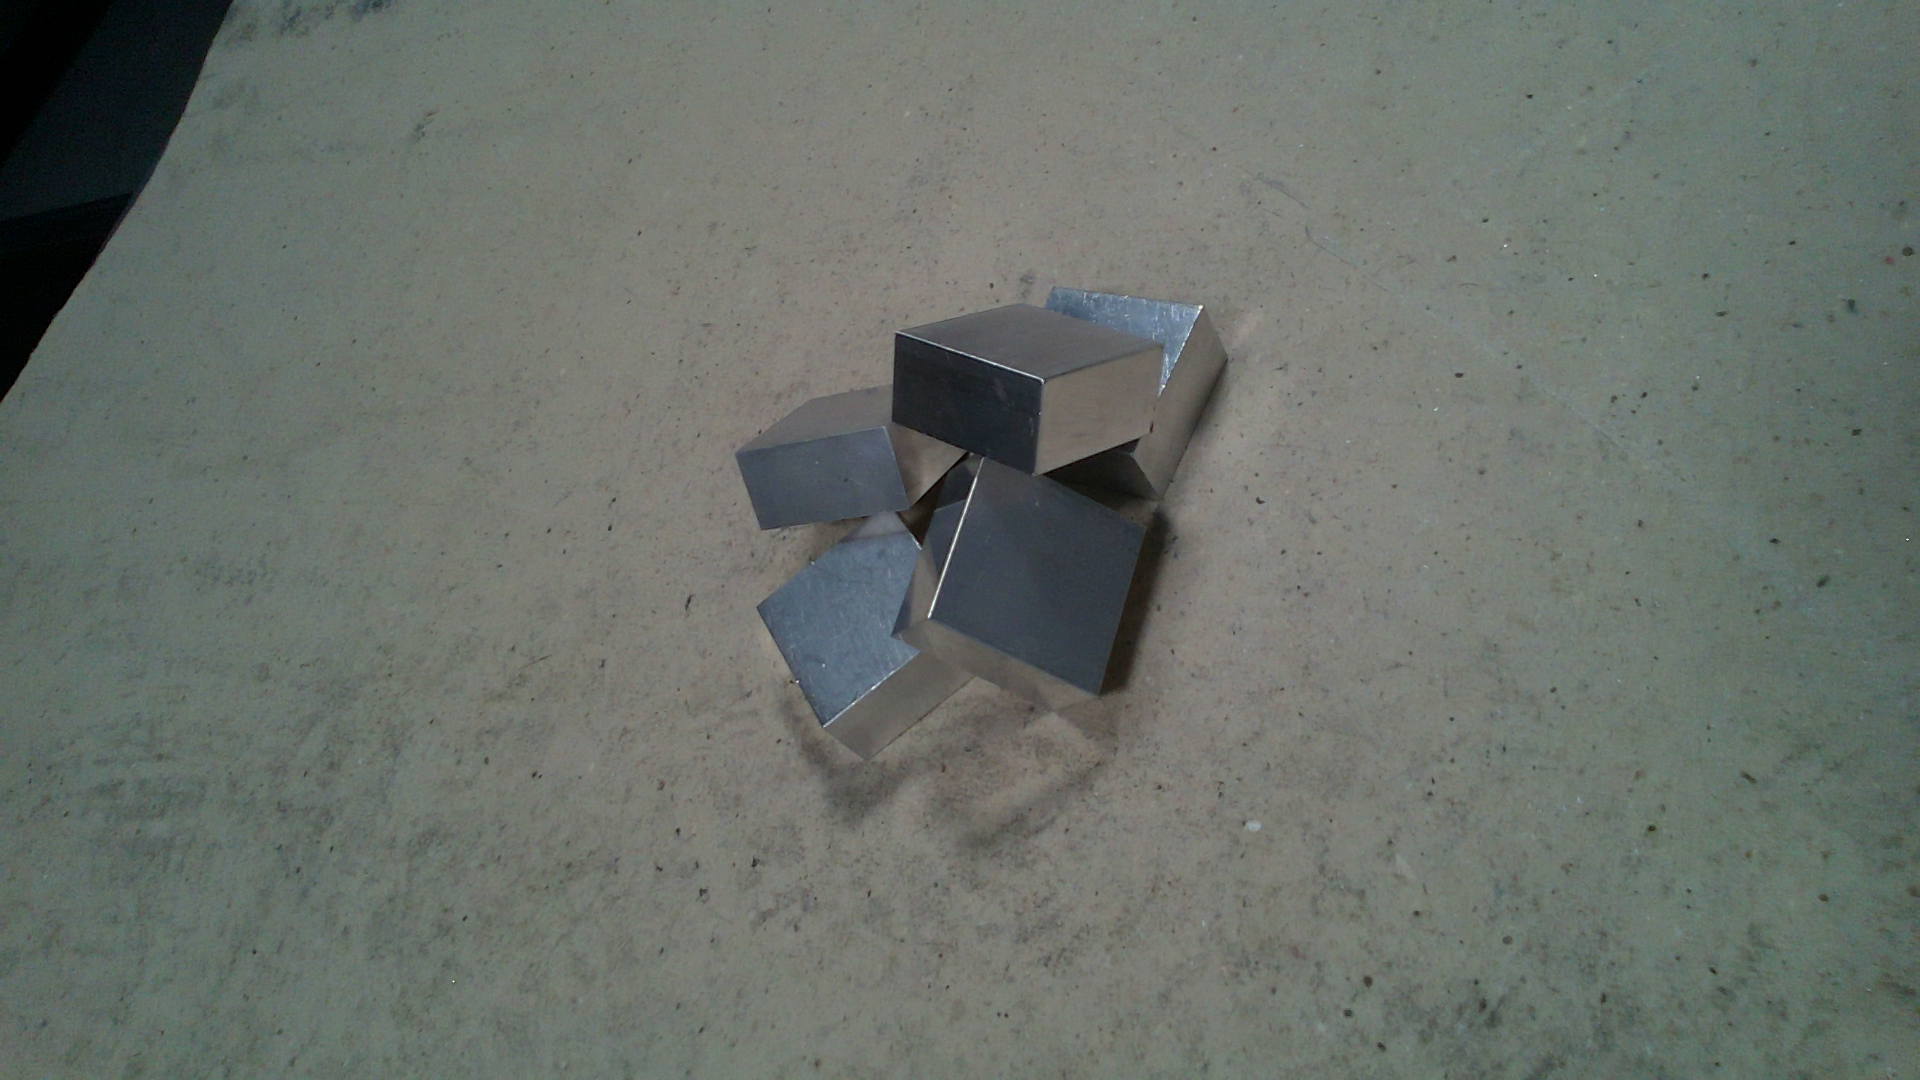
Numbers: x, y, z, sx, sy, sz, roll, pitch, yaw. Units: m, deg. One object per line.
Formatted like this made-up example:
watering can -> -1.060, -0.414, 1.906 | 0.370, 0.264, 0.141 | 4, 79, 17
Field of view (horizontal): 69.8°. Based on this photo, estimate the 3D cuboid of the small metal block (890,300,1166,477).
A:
small metal block -> 0.018, -0.041, 0.360 | 0.050, 0.025, 0.050 | 24, 31, 36

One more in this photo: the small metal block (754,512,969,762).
small metal block -> -0.023, 0.025, 0.391 | 0.050, 0.025, 0.050 | -39, 51, 2

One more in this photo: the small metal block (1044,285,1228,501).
small metal block -> 0.042, -0.044, 0.398 | 0.050, 0.025, 0.050 | 15, 69, 34

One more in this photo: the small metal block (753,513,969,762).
small metal block -> -0.024, 0.025, 0.392 | 0.050, 0.025, 0.050 | -38, 50, 2

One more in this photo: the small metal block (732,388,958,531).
small metal block -> -0.031, -0.027, 0.411 | 0.050, 0.025, 0.050 | -8, 20, 24

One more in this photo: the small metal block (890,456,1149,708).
small metal block -> 0.016, 0.010, 0.360 | 0.025, 0.050, 0.050 | -31, 37, 61
